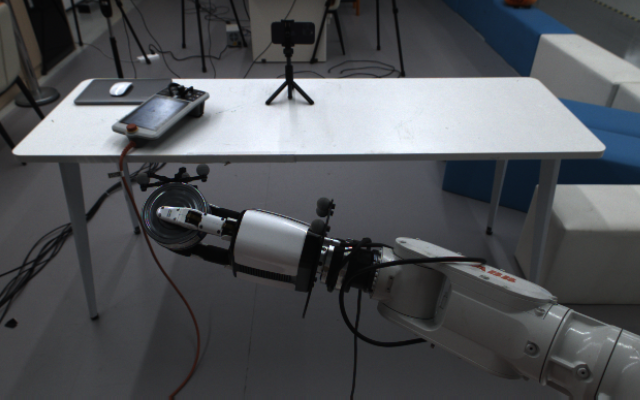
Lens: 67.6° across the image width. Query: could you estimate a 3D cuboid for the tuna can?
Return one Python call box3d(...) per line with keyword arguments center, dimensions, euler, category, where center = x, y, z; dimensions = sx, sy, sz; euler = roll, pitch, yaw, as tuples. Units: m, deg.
box3d(center=(-0.184, 0.026, 0.630), dimensions=(0.085, 0.034, 0.085), euler=(0, 72, -2), category="tuna can")
